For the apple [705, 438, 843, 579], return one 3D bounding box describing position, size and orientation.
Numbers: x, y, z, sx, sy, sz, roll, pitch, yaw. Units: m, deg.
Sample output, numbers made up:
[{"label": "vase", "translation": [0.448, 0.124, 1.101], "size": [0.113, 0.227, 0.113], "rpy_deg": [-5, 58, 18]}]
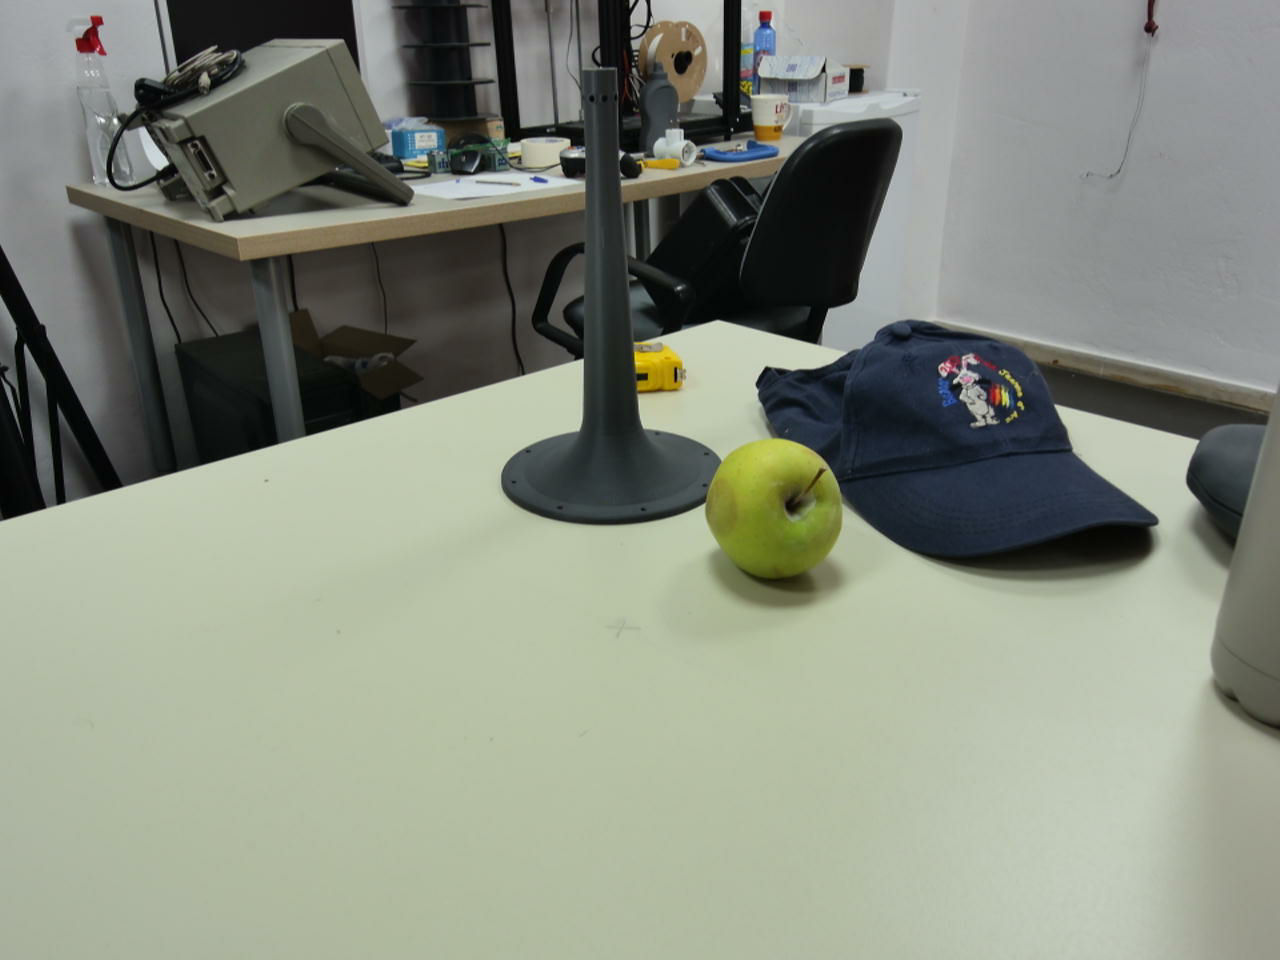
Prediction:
[{"label": "apple", "translation": [0.072, 0.014, 0.541], "size": [0.072, 0.075, 0.077], "rpy_deg": [1, 23, 2]}]
